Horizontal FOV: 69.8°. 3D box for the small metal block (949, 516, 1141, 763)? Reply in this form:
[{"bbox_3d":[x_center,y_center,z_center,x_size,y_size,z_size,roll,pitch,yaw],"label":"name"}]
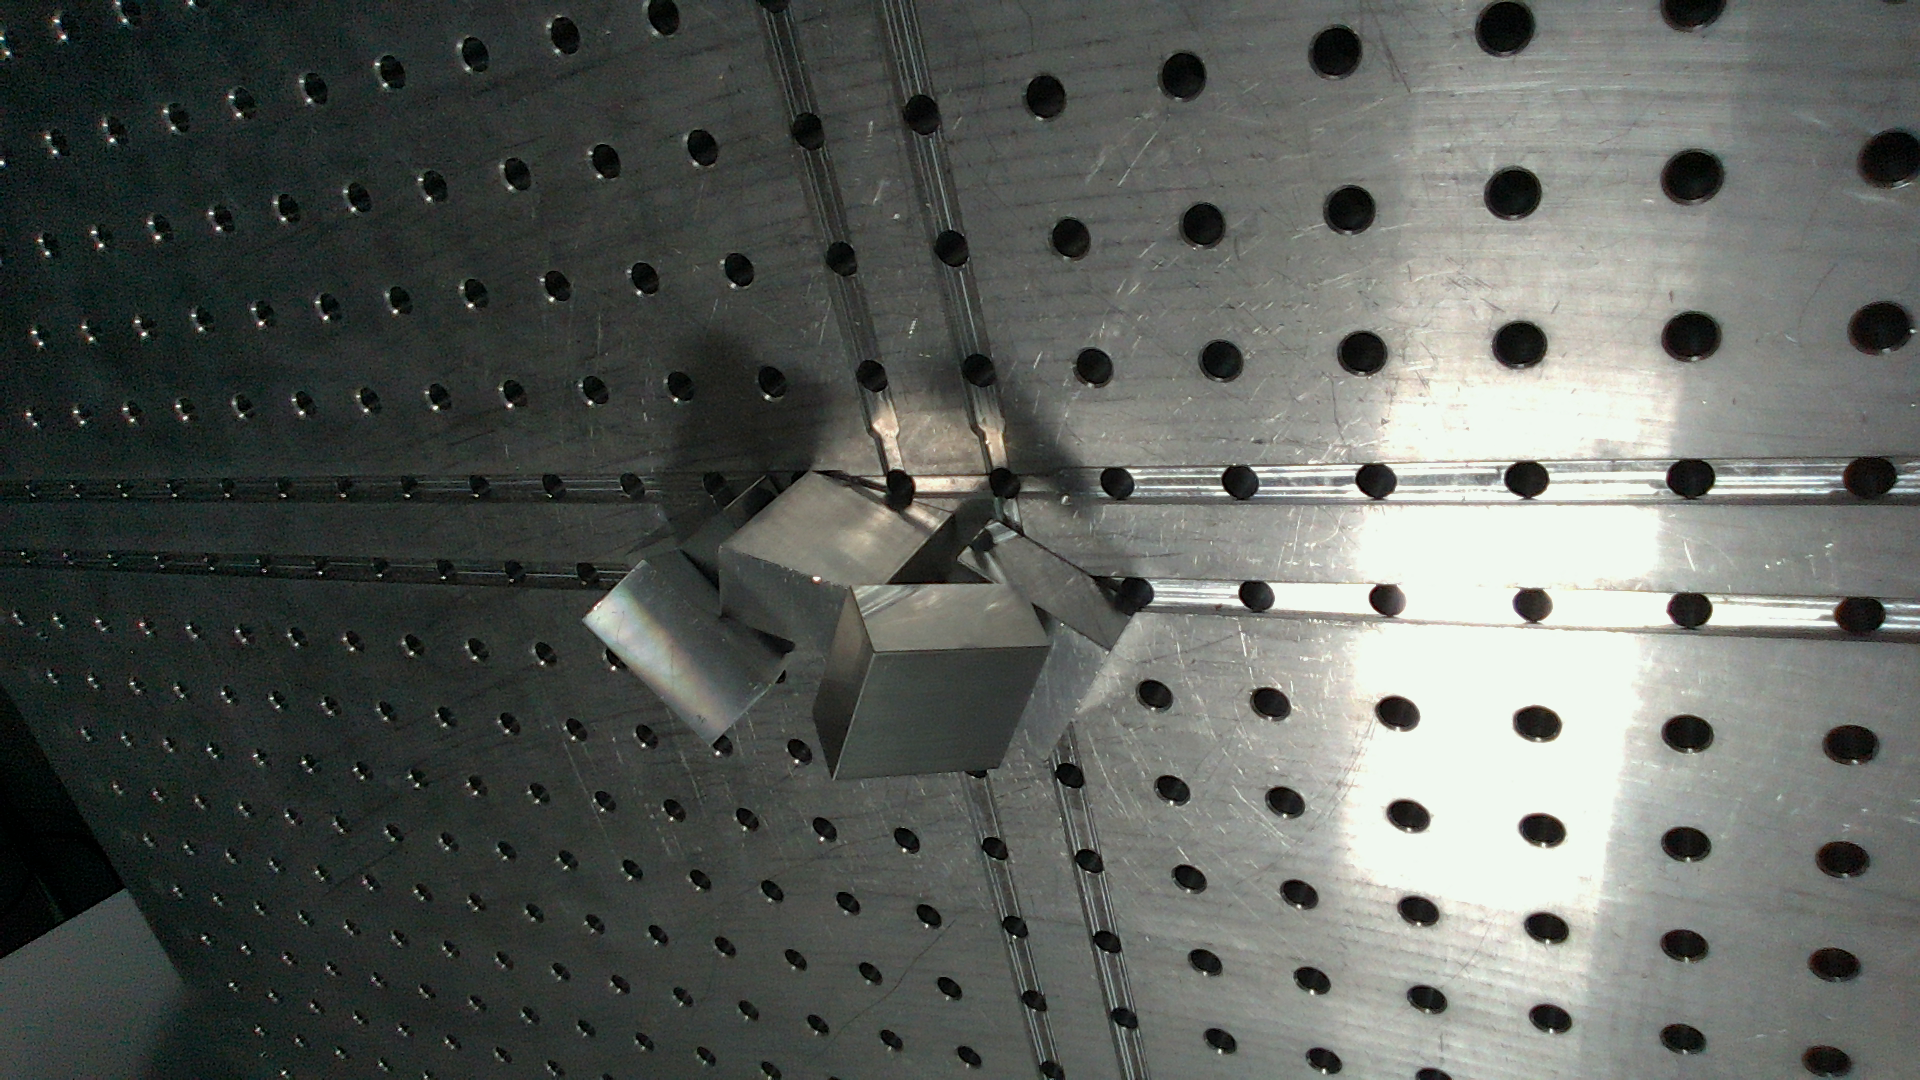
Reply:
[{"bbox_3d":[0.017,0.029,0.405,0.050,0.025,0.050,31,129,8],"label":"small metal block"}]

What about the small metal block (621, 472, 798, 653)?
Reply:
[{"bbox_3d":[-0.072,0.013,0.443,0.050,0.025,0.050,-21,107,36],"label":"small metal block"}]

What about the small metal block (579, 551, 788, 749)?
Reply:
[{"bbox_3d":[-0.079,0.030,0.405,0.025,0.050,0.050,-45,93,1],"label":"small metal block"}]

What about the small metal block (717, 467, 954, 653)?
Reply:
[{"bbox_3d":[-0.036,0.007,0.403,0.050,0.050,0.025,17,125,18],"label":"small metal block"}]

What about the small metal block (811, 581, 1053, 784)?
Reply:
[{"bbox_3d":[-0.009,0.039,0.374,0.050,0.025,0.050,0,131,-24],"label":"small metal block"}]
